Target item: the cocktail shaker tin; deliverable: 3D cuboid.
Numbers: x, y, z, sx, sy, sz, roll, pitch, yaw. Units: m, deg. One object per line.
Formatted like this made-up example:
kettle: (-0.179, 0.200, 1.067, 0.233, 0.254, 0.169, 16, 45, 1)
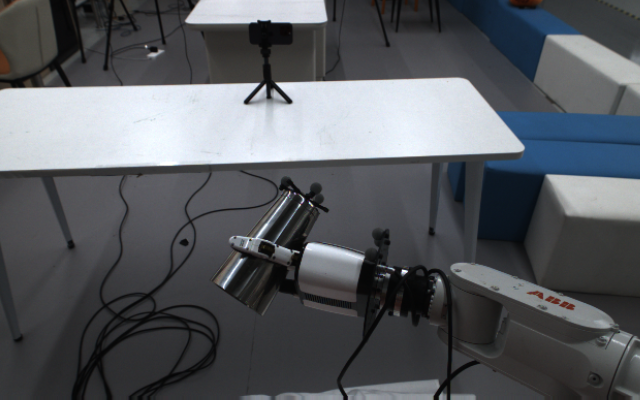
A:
cocktail shaker tin: (-0.075, 0.071, 0.708, 0.093, 0.093, 0.170, 24, 69, 28)
